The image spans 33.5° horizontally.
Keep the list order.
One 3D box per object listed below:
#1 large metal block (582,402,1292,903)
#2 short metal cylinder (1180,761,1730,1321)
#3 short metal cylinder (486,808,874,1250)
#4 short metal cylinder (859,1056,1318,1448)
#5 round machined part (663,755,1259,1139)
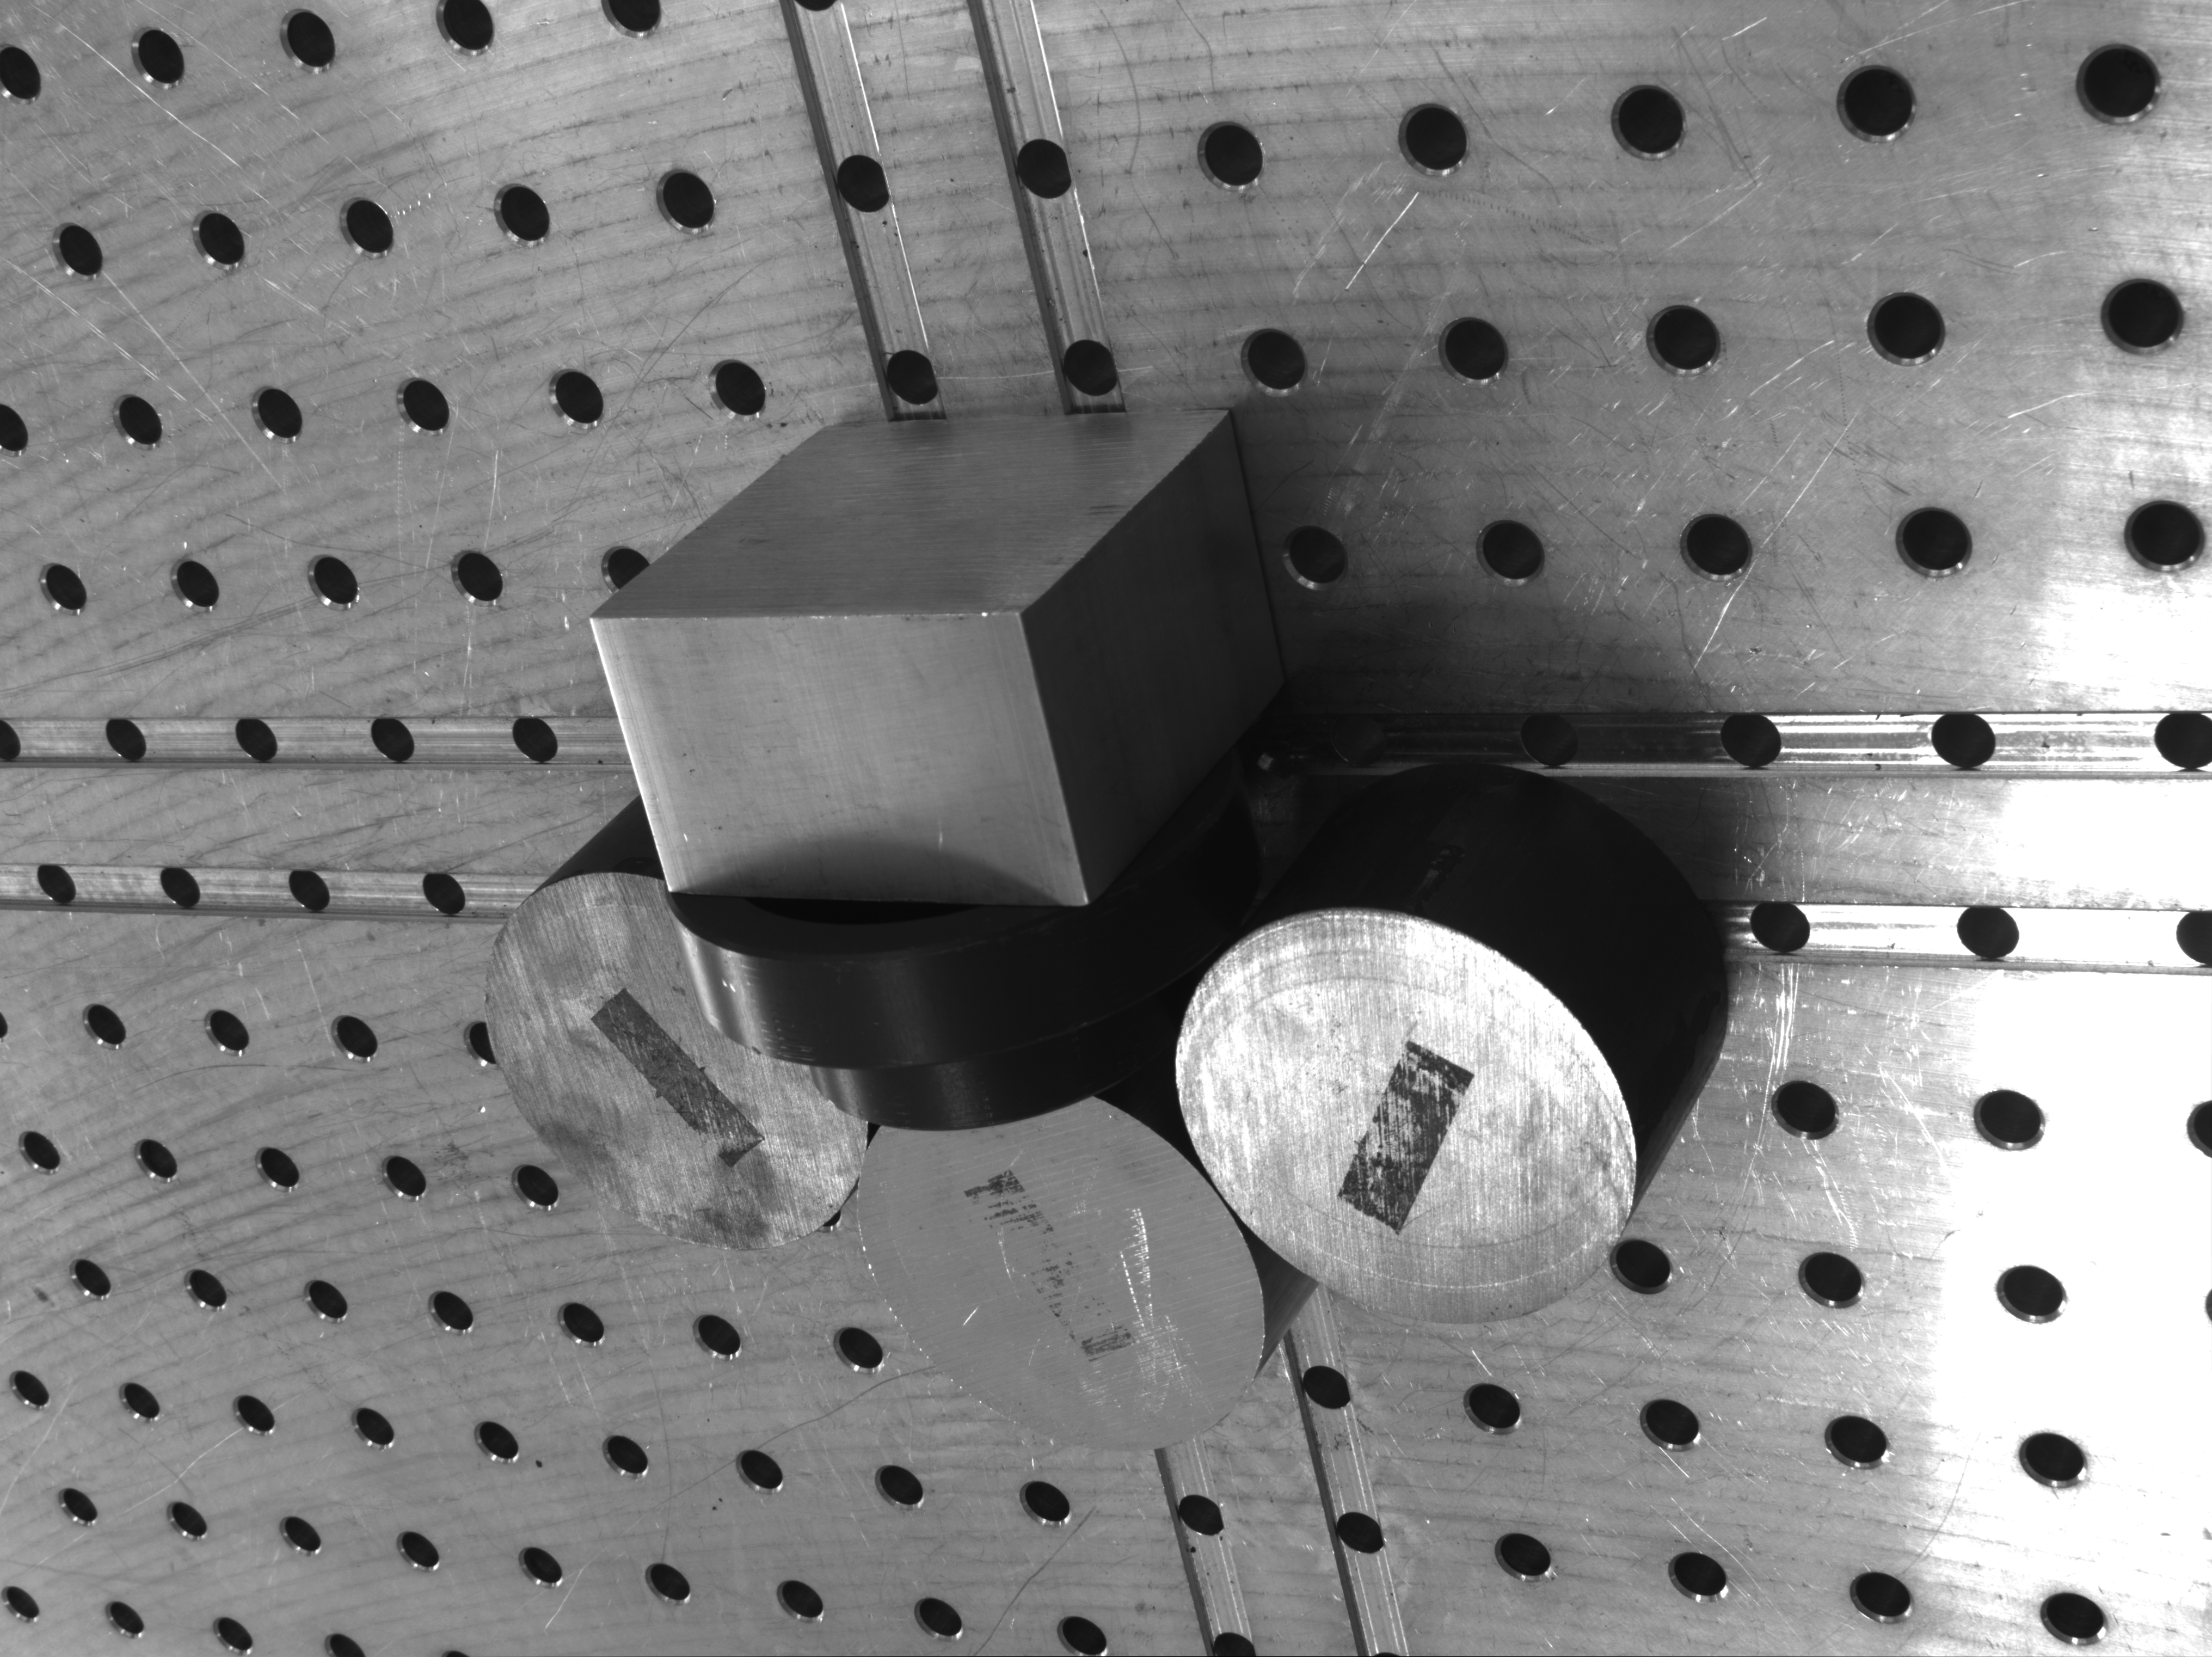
[{"bbox_3d":[-0.026,-0.030,0.605,0.080,0.080,0.050,1,119,28],"label":"large metal block"},{"bbox_3d":[0.059,0.036,0.620,0.080,0.050,0.080,13,124,21],"label":"short metal cylinder"},{"bbox_3d":[-0.068,0.031,0.686,0.080,0.050,0.080,13,124,21],"label":"short metal cylinder"},{"bbox_3d":[0.002,0.065,0.669,0.080,0.050,0.080,13,124,21],"label":"short metal cylinder"},{"bbox_3d":[-0.022,0.017,0.619,0.098,0.098,0.042,2,118,27],"label":"round machined part"}]
